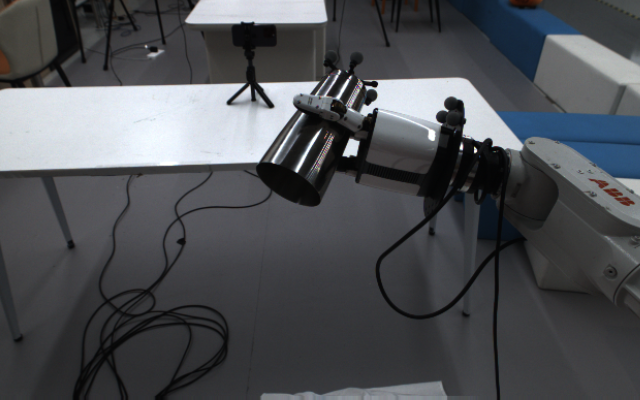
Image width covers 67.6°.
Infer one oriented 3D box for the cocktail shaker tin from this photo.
[{"bbox_3d":[0.001,-0.090,0.630,0.093,0.093,0.170,17,66,21],"label":"cocktail shaker tin"}]
